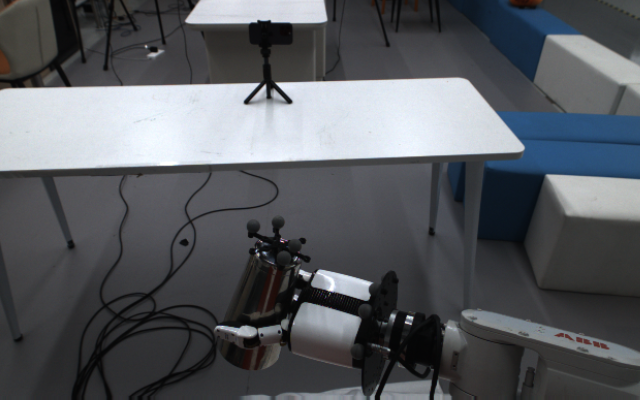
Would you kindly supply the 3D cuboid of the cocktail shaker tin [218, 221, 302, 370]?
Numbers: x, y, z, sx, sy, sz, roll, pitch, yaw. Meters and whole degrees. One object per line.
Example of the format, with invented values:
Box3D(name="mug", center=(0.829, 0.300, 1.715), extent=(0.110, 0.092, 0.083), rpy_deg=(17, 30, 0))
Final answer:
Box3D(name="cocktail shaker tin", center=(-0.077, 0.135, 0.657), extent=(0.093, 0.170, 0.093), rpy_deg=(14, 27, -7))
